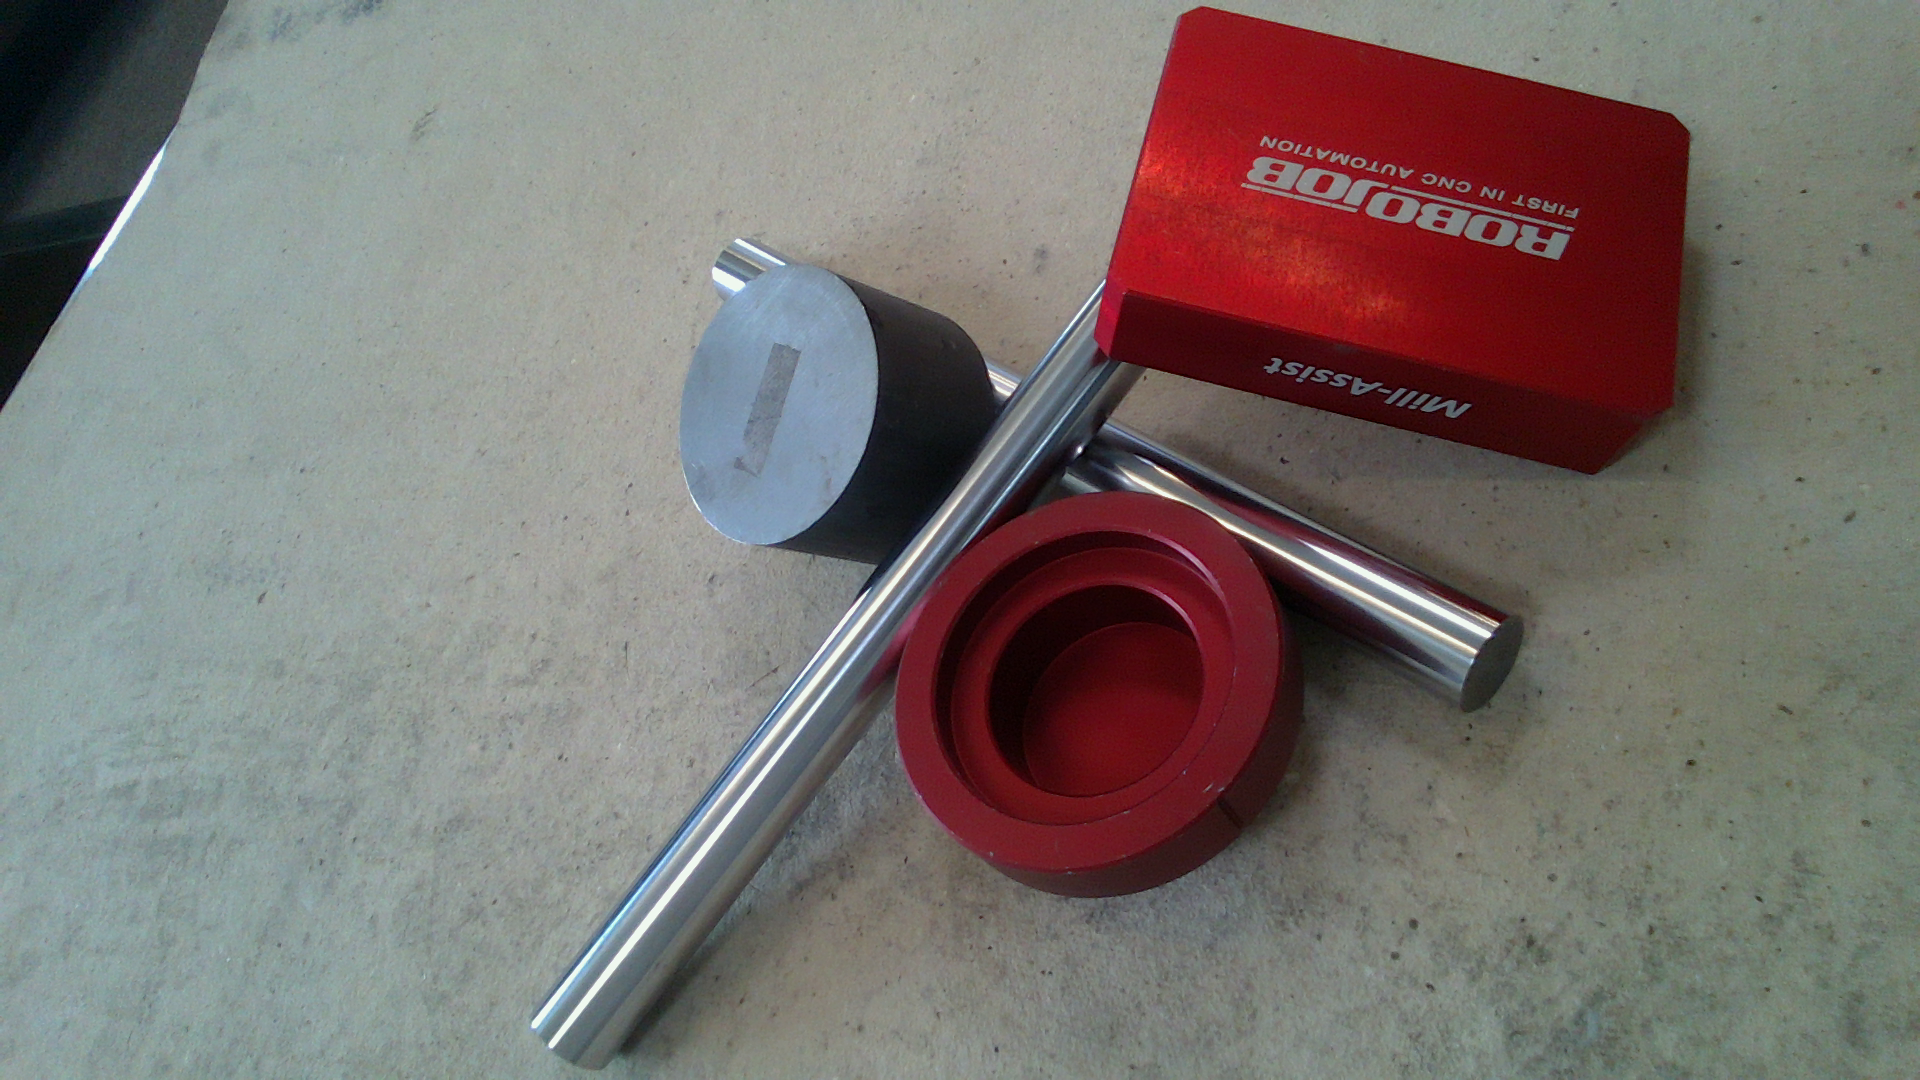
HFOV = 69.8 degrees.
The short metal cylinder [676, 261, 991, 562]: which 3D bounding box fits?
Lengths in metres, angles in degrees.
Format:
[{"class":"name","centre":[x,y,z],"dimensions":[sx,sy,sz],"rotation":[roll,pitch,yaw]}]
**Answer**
[{"class":"short metal cylinder","centre":[-0.038,-0.035,0.403],"dimensions":[0.080,0.050,0.080],"rotation":[-8,77,39]}]

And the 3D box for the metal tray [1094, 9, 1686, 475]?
[{"class":"metal tray","centre":[0.107,-0.076,0.343],"dimensions":[0.130,0.030,0.090],"rotation":[15,66,4]}]

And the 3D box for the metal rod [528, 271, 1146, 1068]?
[{"class":"metal rod","centre":[-0.013,0.014,0.370],"dimensions":[0.025,0.025,0.300],"rotation":[38,90,39]}]

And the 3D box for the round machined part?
[{"class":"round machined part","centre":[0.036,0.040,0.339],"dimensions":[0.098,0.042,0.098],"rotation":[-13,56,21]}]

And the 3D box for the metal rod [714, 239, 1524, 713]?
[{"class":"metal rod","centre":[0.021,-0.034,0.405],"dimensions":[0.299,0.025,0.025],"rotation":[32,80,38]}]
